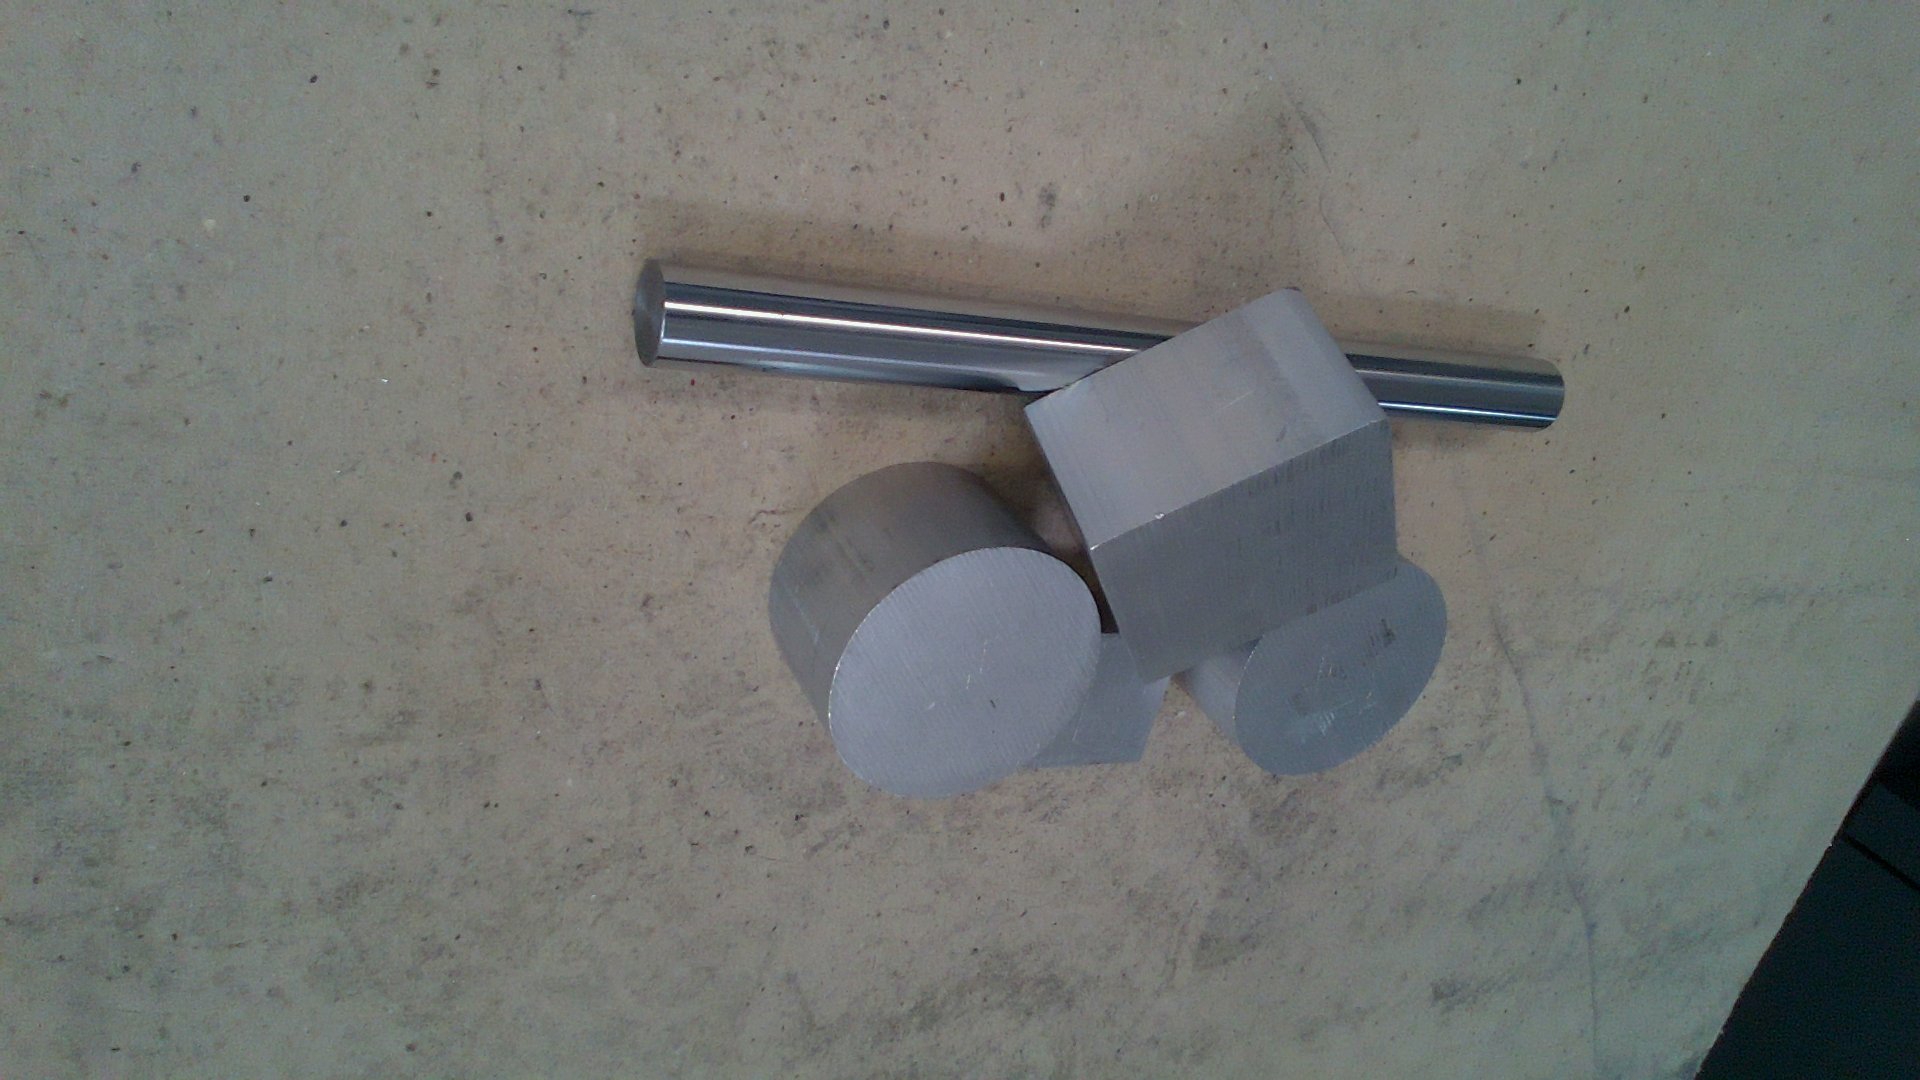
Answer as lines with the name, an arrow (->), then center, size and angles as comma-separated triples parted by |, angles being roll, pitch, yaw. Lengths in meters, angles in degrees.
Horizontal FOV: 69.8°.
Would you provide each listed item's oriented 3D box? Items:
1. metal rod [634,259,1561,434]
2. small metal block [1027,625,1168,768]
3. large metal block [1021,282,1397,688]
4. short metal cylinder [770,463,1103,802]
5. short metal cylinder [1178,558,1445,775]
metal rod -> 0.060, -0.050, 0.390 | 0.301, 0.025, 0.025 | 1, 118, -29
small metal block -> 0.038, 0.044, 0.437 | 0.050, 0.025, 0.050 | 2, 118, -29
large metal block -> 0.071, -0.012, 0.382 | 0.080, 0.050, 0.080 | -24, 145, 3
short metal cylinder -> -0.007, 0.025, 0.384 | 0.080, 0.050, 0.080 | -14, 124, -21
short metal cylinder -> 0.109, 0.029, 0.450 | 0.080, 0.050, 0.080 | -14, 124, -21
